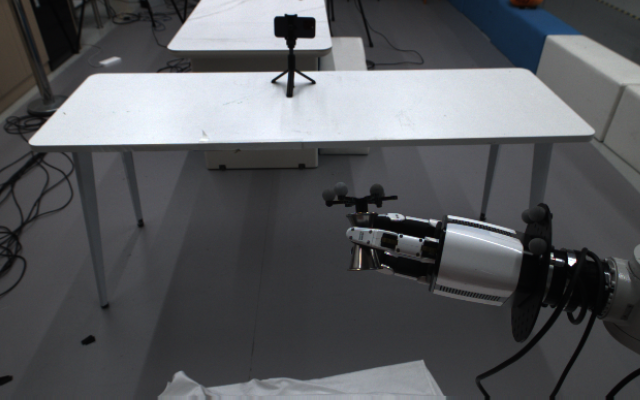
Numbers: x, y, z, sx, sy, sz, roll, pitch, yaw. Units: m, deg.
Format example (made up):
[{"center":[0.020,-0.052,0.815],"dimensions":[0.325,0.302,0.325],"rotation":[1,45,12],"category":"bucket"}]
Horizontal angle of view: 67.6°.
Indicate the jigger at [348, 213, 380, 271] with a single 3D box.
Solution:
[{"center":[0.053,0.050,0.590],"dimensions":[0.043,0.071,0.043],"rotation":[-2,-7,0],"category":"jigger"}]
